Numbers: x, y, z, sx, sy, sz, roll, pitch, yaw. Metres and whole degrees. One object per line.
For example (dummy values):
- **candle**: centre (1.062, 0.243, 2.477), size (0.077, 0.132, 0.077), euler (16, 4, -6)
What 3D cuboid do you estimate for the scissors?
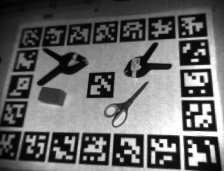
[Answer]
- **scissors**: centre (0.035, 0.049, 0.758), size (0.087, 0.016, 0.203), euler (40, 83, 13)

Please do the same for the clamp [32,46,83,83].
- **clamp**: centre (-0.213, -0.095, 0.855), size (0.202, 0.037, 0.165), euler (-4, 68, 11)

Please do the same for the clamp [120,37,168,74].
- **clamp**: centre (0.103, -0.091, 0.786), size (0.165, 0.037, 0.121), euler (-28, 75, 4)

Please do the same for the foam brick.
- **foam brick**: centre (-0.240, 0.034, 0.813), size (0.077, 0.052, 0.052), euler (6, 75, 20)
